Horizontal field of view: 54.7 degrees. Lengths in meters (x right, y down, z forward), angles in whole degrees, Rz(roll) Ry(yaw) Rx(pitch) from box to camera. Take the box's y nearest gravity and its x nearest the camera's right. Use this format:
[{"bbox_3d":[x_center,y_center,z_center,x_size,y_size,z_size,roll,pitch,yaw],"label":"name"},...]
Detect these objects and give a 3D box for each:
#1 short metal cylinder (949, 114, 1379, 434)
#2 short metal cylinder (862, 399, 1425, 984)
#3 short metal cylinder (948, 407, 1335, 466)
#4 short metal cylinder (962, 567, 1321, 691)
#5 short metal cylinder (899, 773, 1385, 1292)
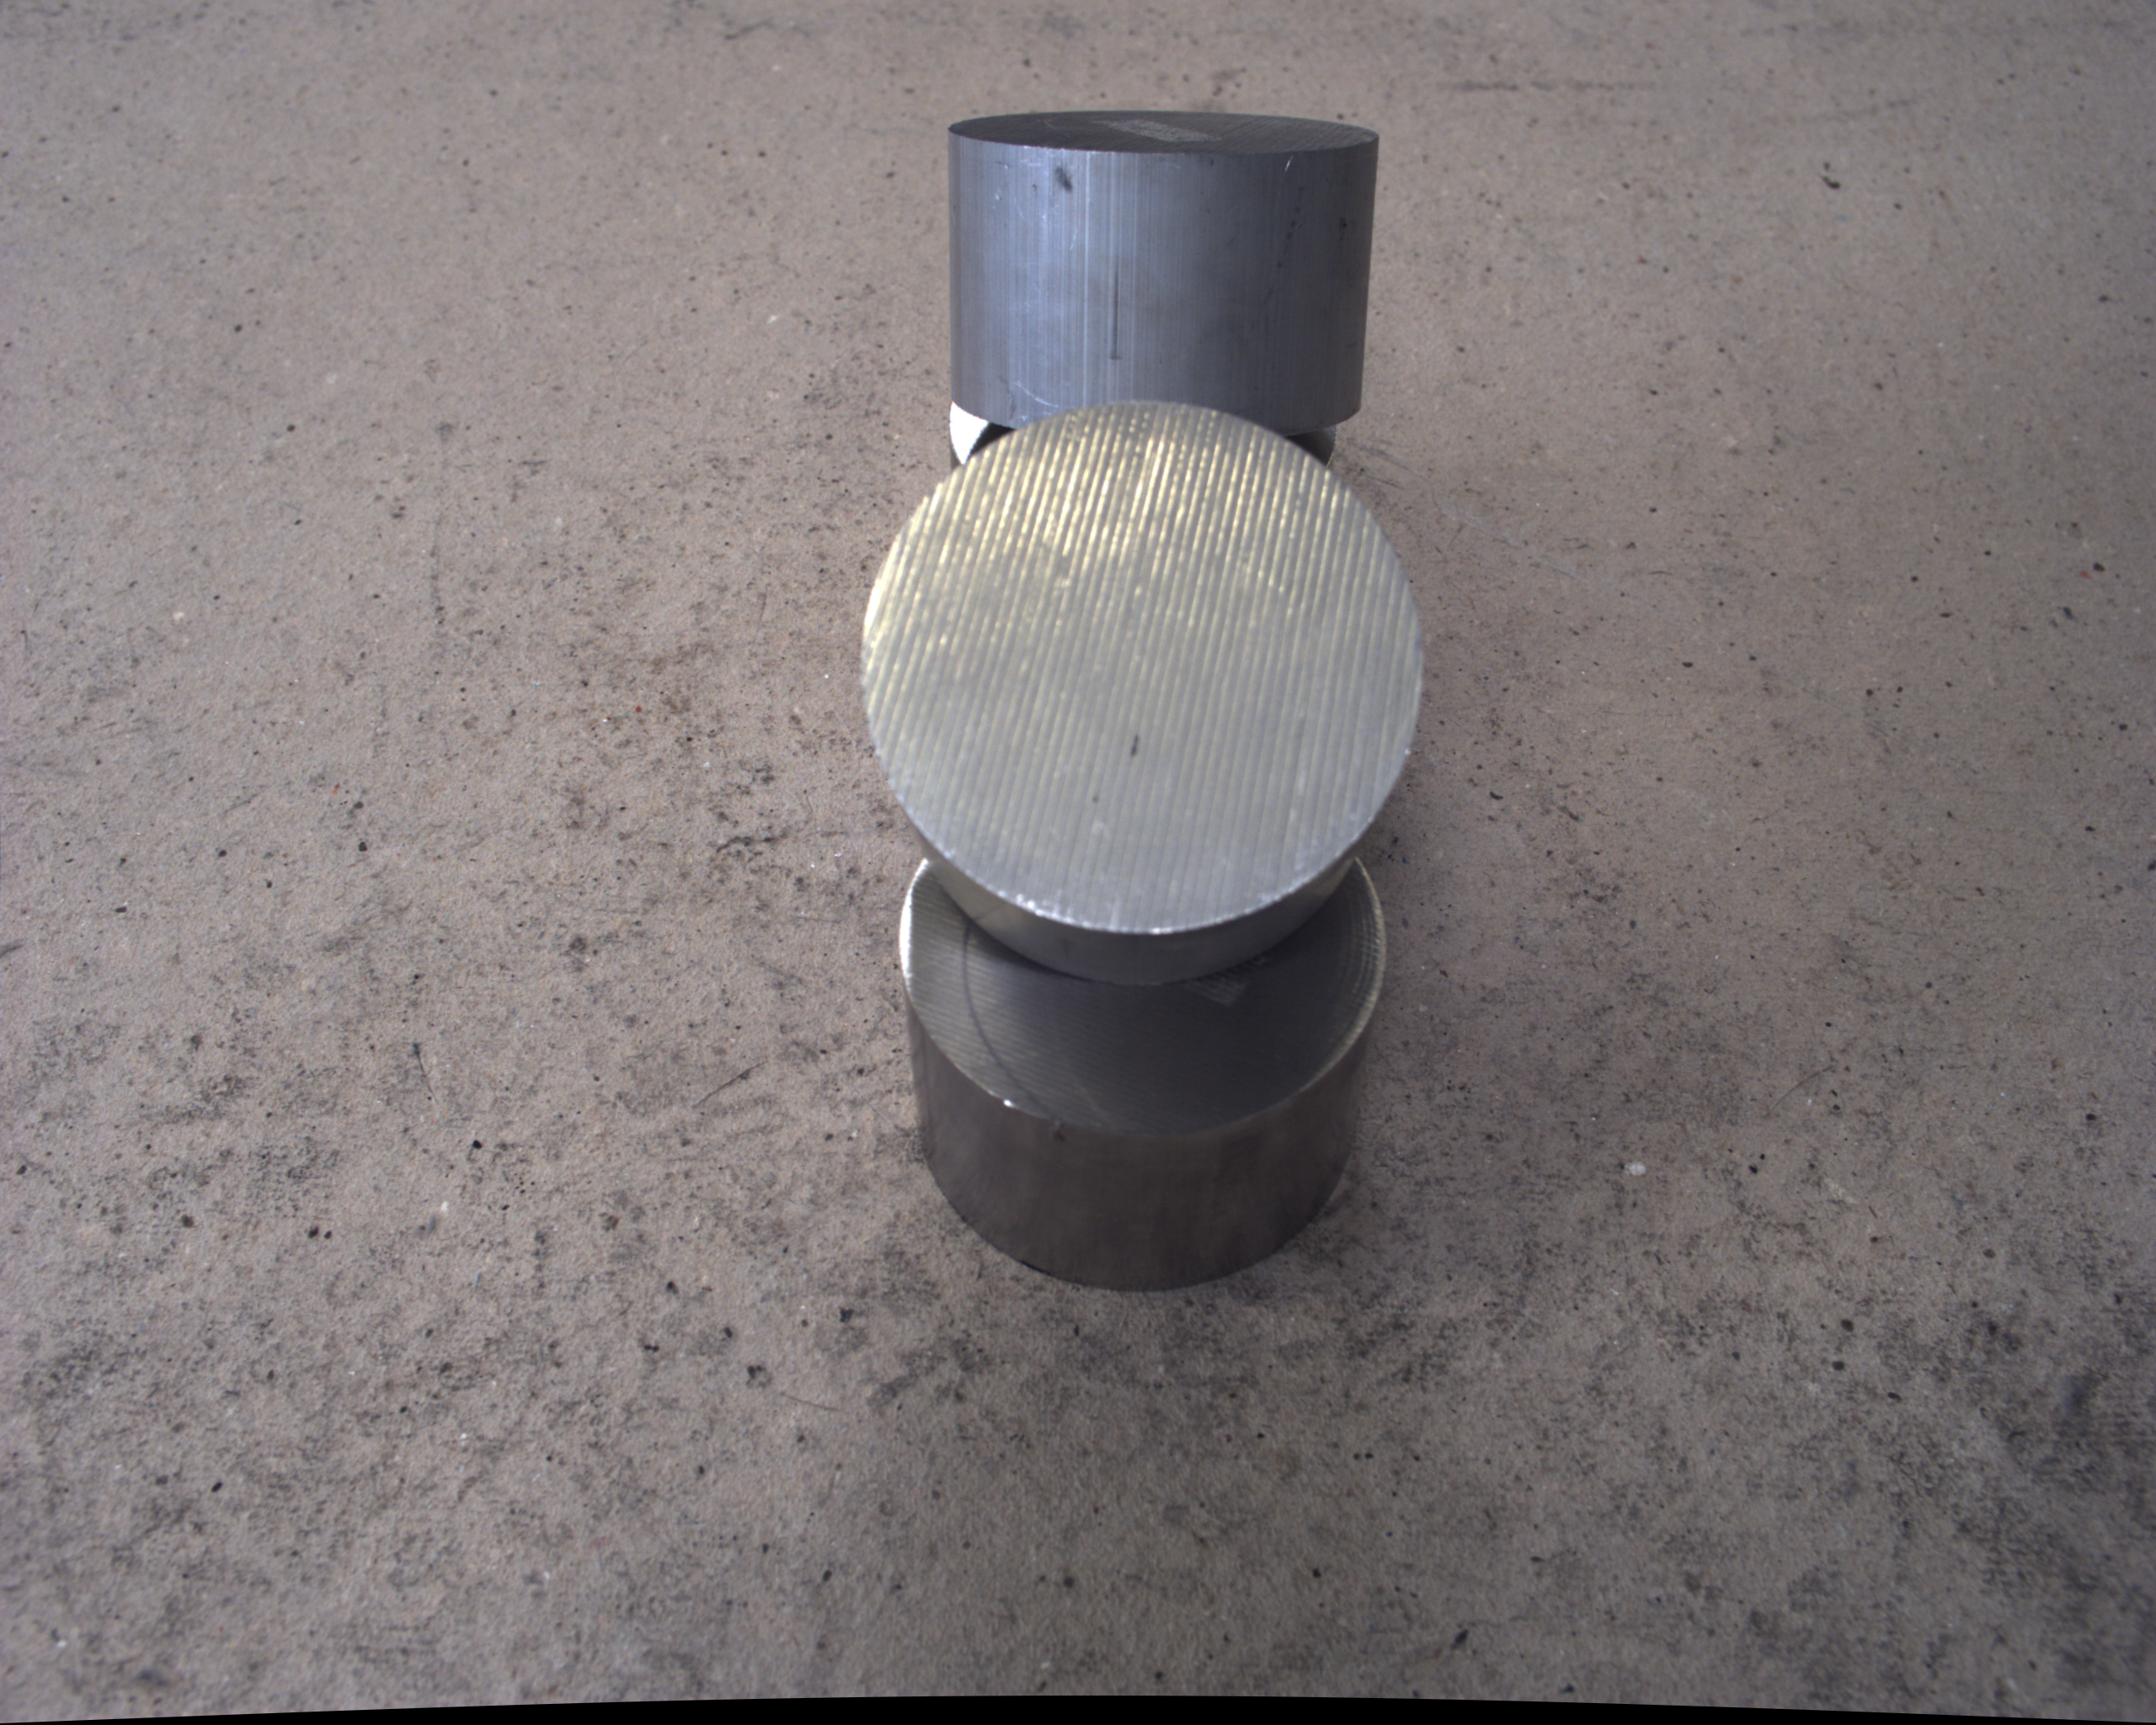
[{"bbox_3d":[0.016,-0.115,0.401,0.081,0.050,0.080,1,25,0],"label":"short metal cylinder"},{"bbox_3d":[0.010,-0.024,0.323,0.080,0.050,0.080,0,78,1],"label":"short metal cylinder"},{"bbox_3d":[0.013,-0.076,0.453,0.080,0.050,0.080,0,50,0],"label":"short metal cylinder"},{"bbox_3d":[0.012,-0.035,0.400,0.080,0.080,0.050,1,50,1],"label":"short metal cylinder"},{"bbox_3d":[0.011,0.027,0.366,0.080,0.050,0.080,0,50,0],"label":"short metal cylinder"}]
